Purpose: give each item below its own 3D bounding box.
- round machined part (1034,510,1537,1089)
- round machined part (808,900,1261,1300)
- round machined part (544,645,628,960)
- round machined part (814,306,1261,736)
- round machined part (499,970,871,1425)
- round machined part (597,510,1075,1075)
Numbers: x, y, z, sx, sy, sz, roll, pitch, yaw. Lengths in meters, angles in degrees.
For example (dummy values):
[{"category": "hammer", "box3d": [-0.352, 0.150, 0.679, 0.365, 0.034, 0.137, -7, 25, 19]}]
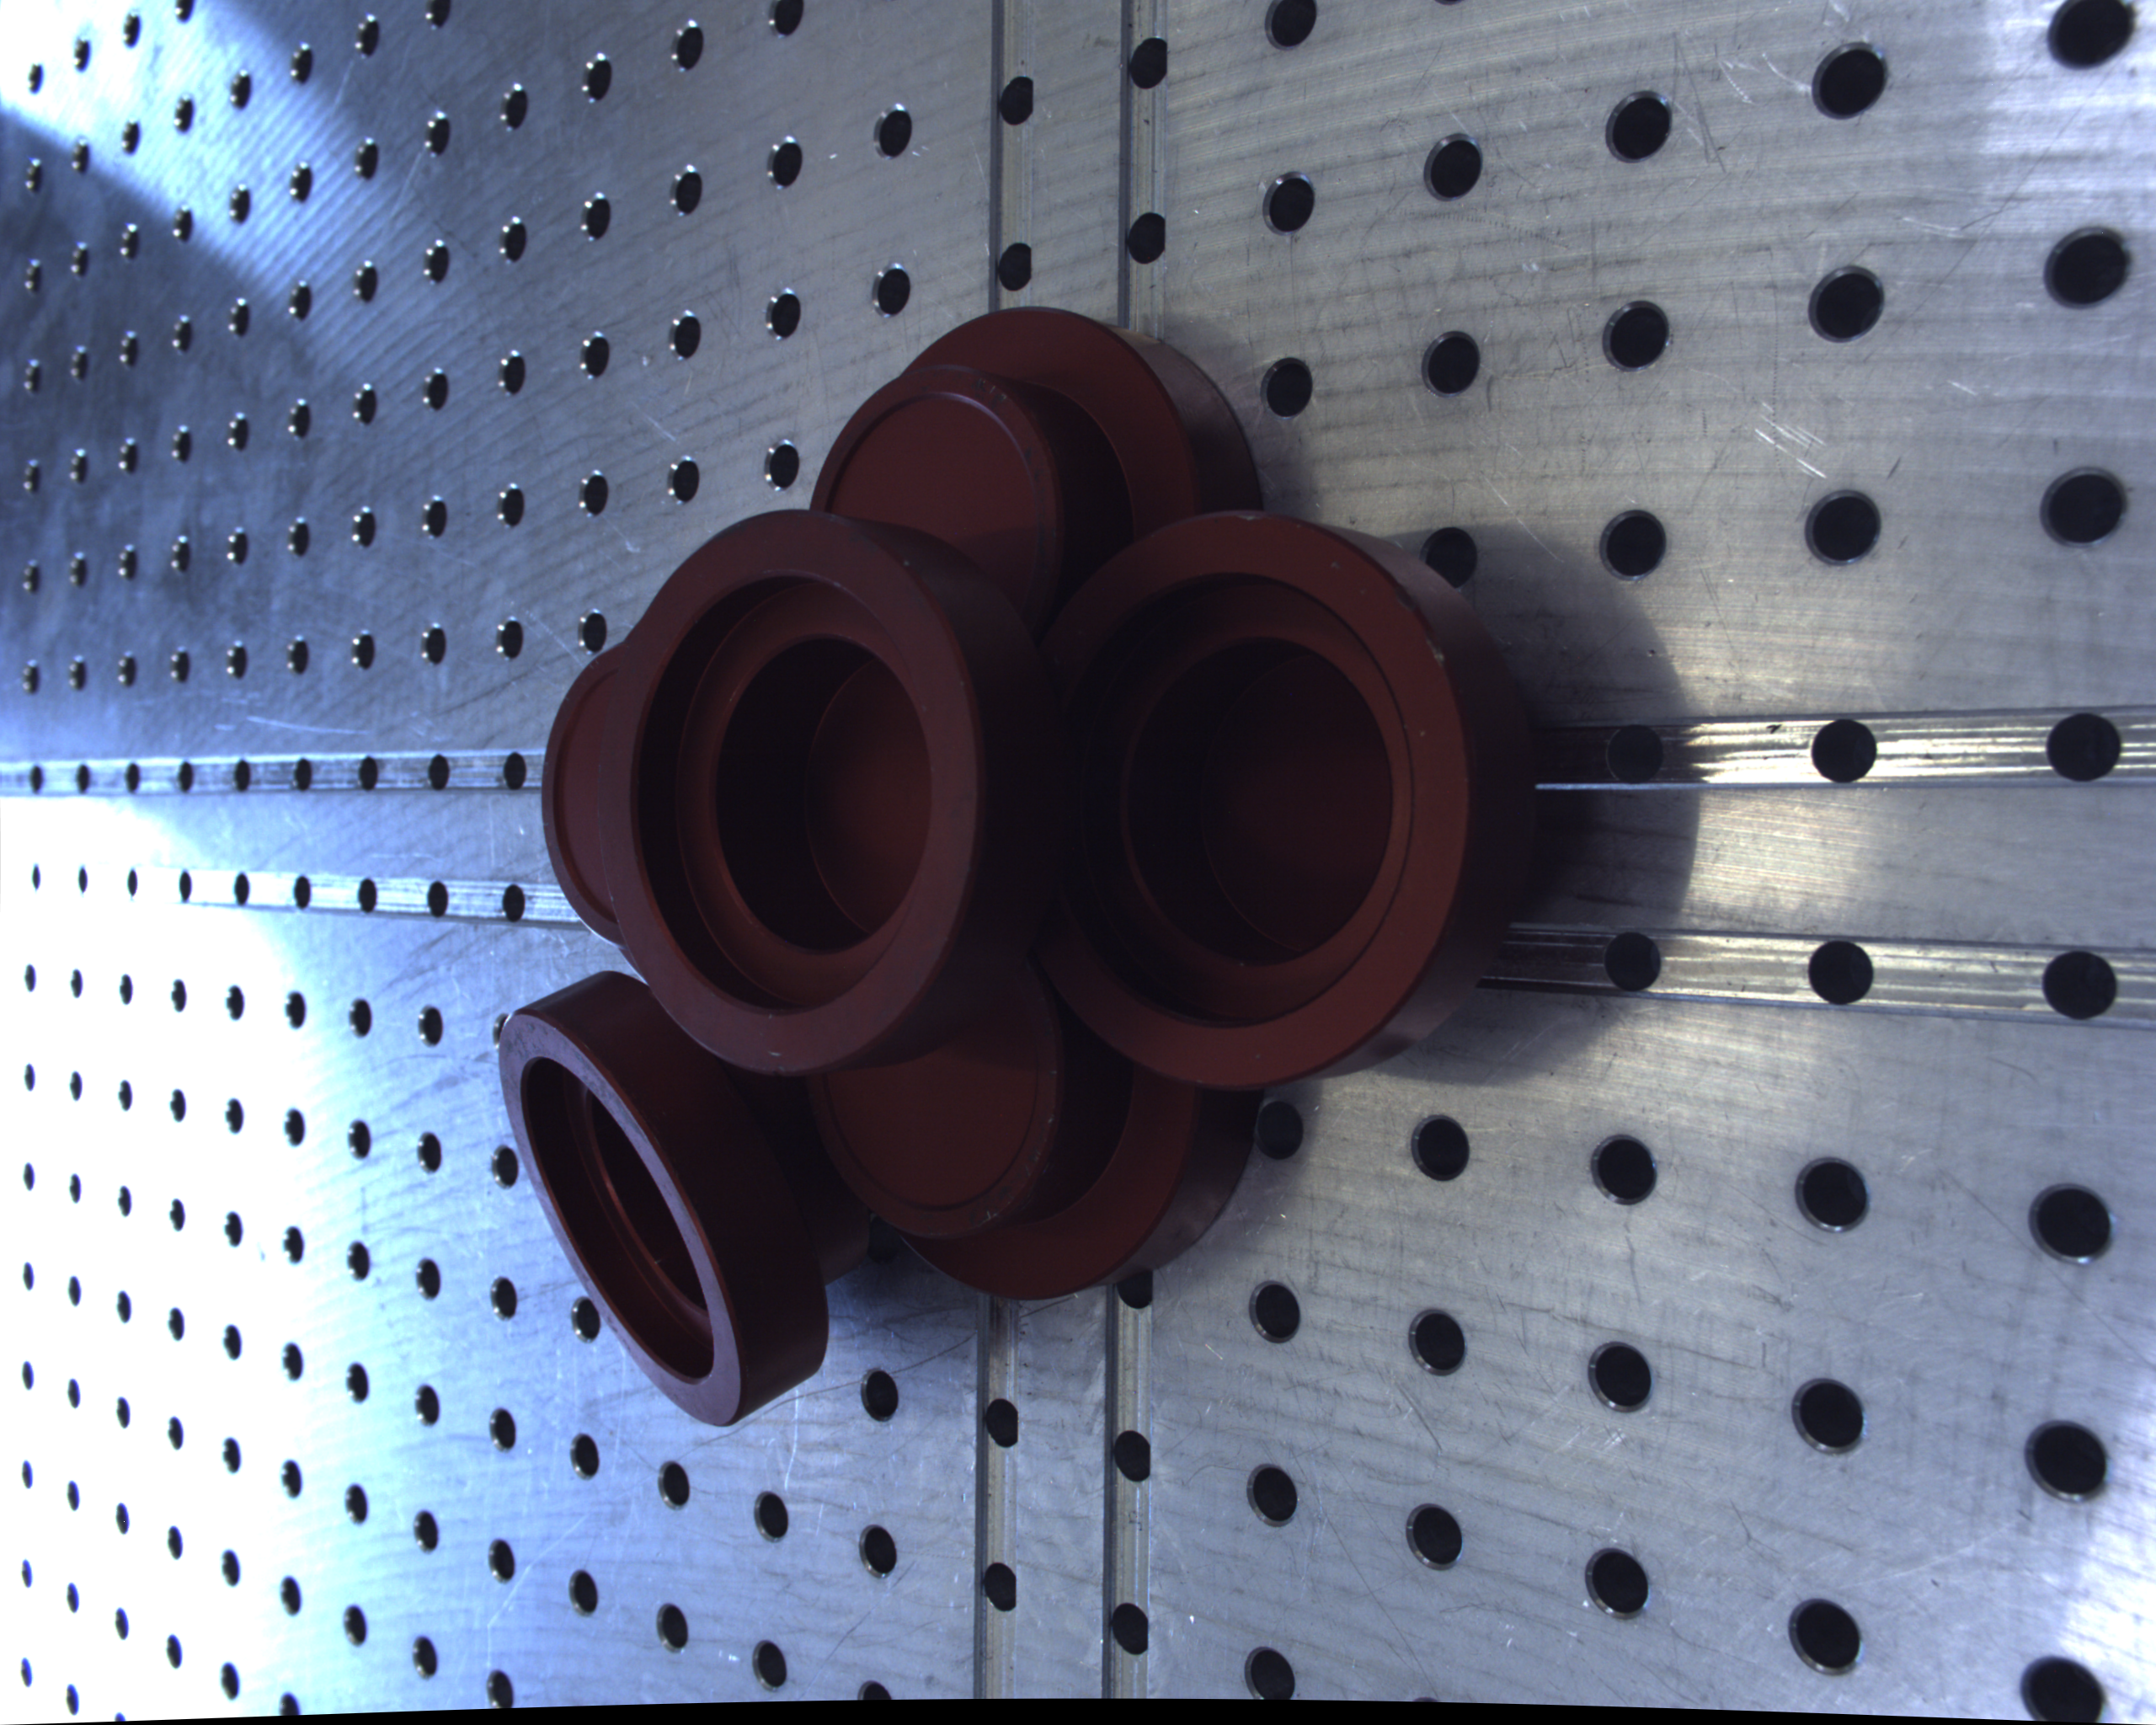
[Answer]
[{"category": "round machined part", "box3d": [0.037, -0.011, 0.368, 0.098, 0.042, 0.097, 0, 90, 40]}, {"category": "round machined part", "box3d": [-0.015, 0.037, 0.412, 0.098, 0.042, 0.097, 0, 90, 40]}, {"category": "round machined part", "box3d": [-0.082, -0.015, 0.467, 0.098, 0.042, 0.097, 0, 90, 40]}, {"category": "round machined part", "box3d": [-0.015, -0.061, 0.412, 0.098, 0.042, 0.097, 0, 90, 40]}, {"category": "round machined part", "box3d": [-0.081, 0.067, 0.450, 0.098, 0.042, 0.097, 34, 137, 38]}, {"category": "round machined part", "box3d": [-0.040, -0.012, 0.376, 0.098, 0.042, 0.097, 0, 90, 40]}]
